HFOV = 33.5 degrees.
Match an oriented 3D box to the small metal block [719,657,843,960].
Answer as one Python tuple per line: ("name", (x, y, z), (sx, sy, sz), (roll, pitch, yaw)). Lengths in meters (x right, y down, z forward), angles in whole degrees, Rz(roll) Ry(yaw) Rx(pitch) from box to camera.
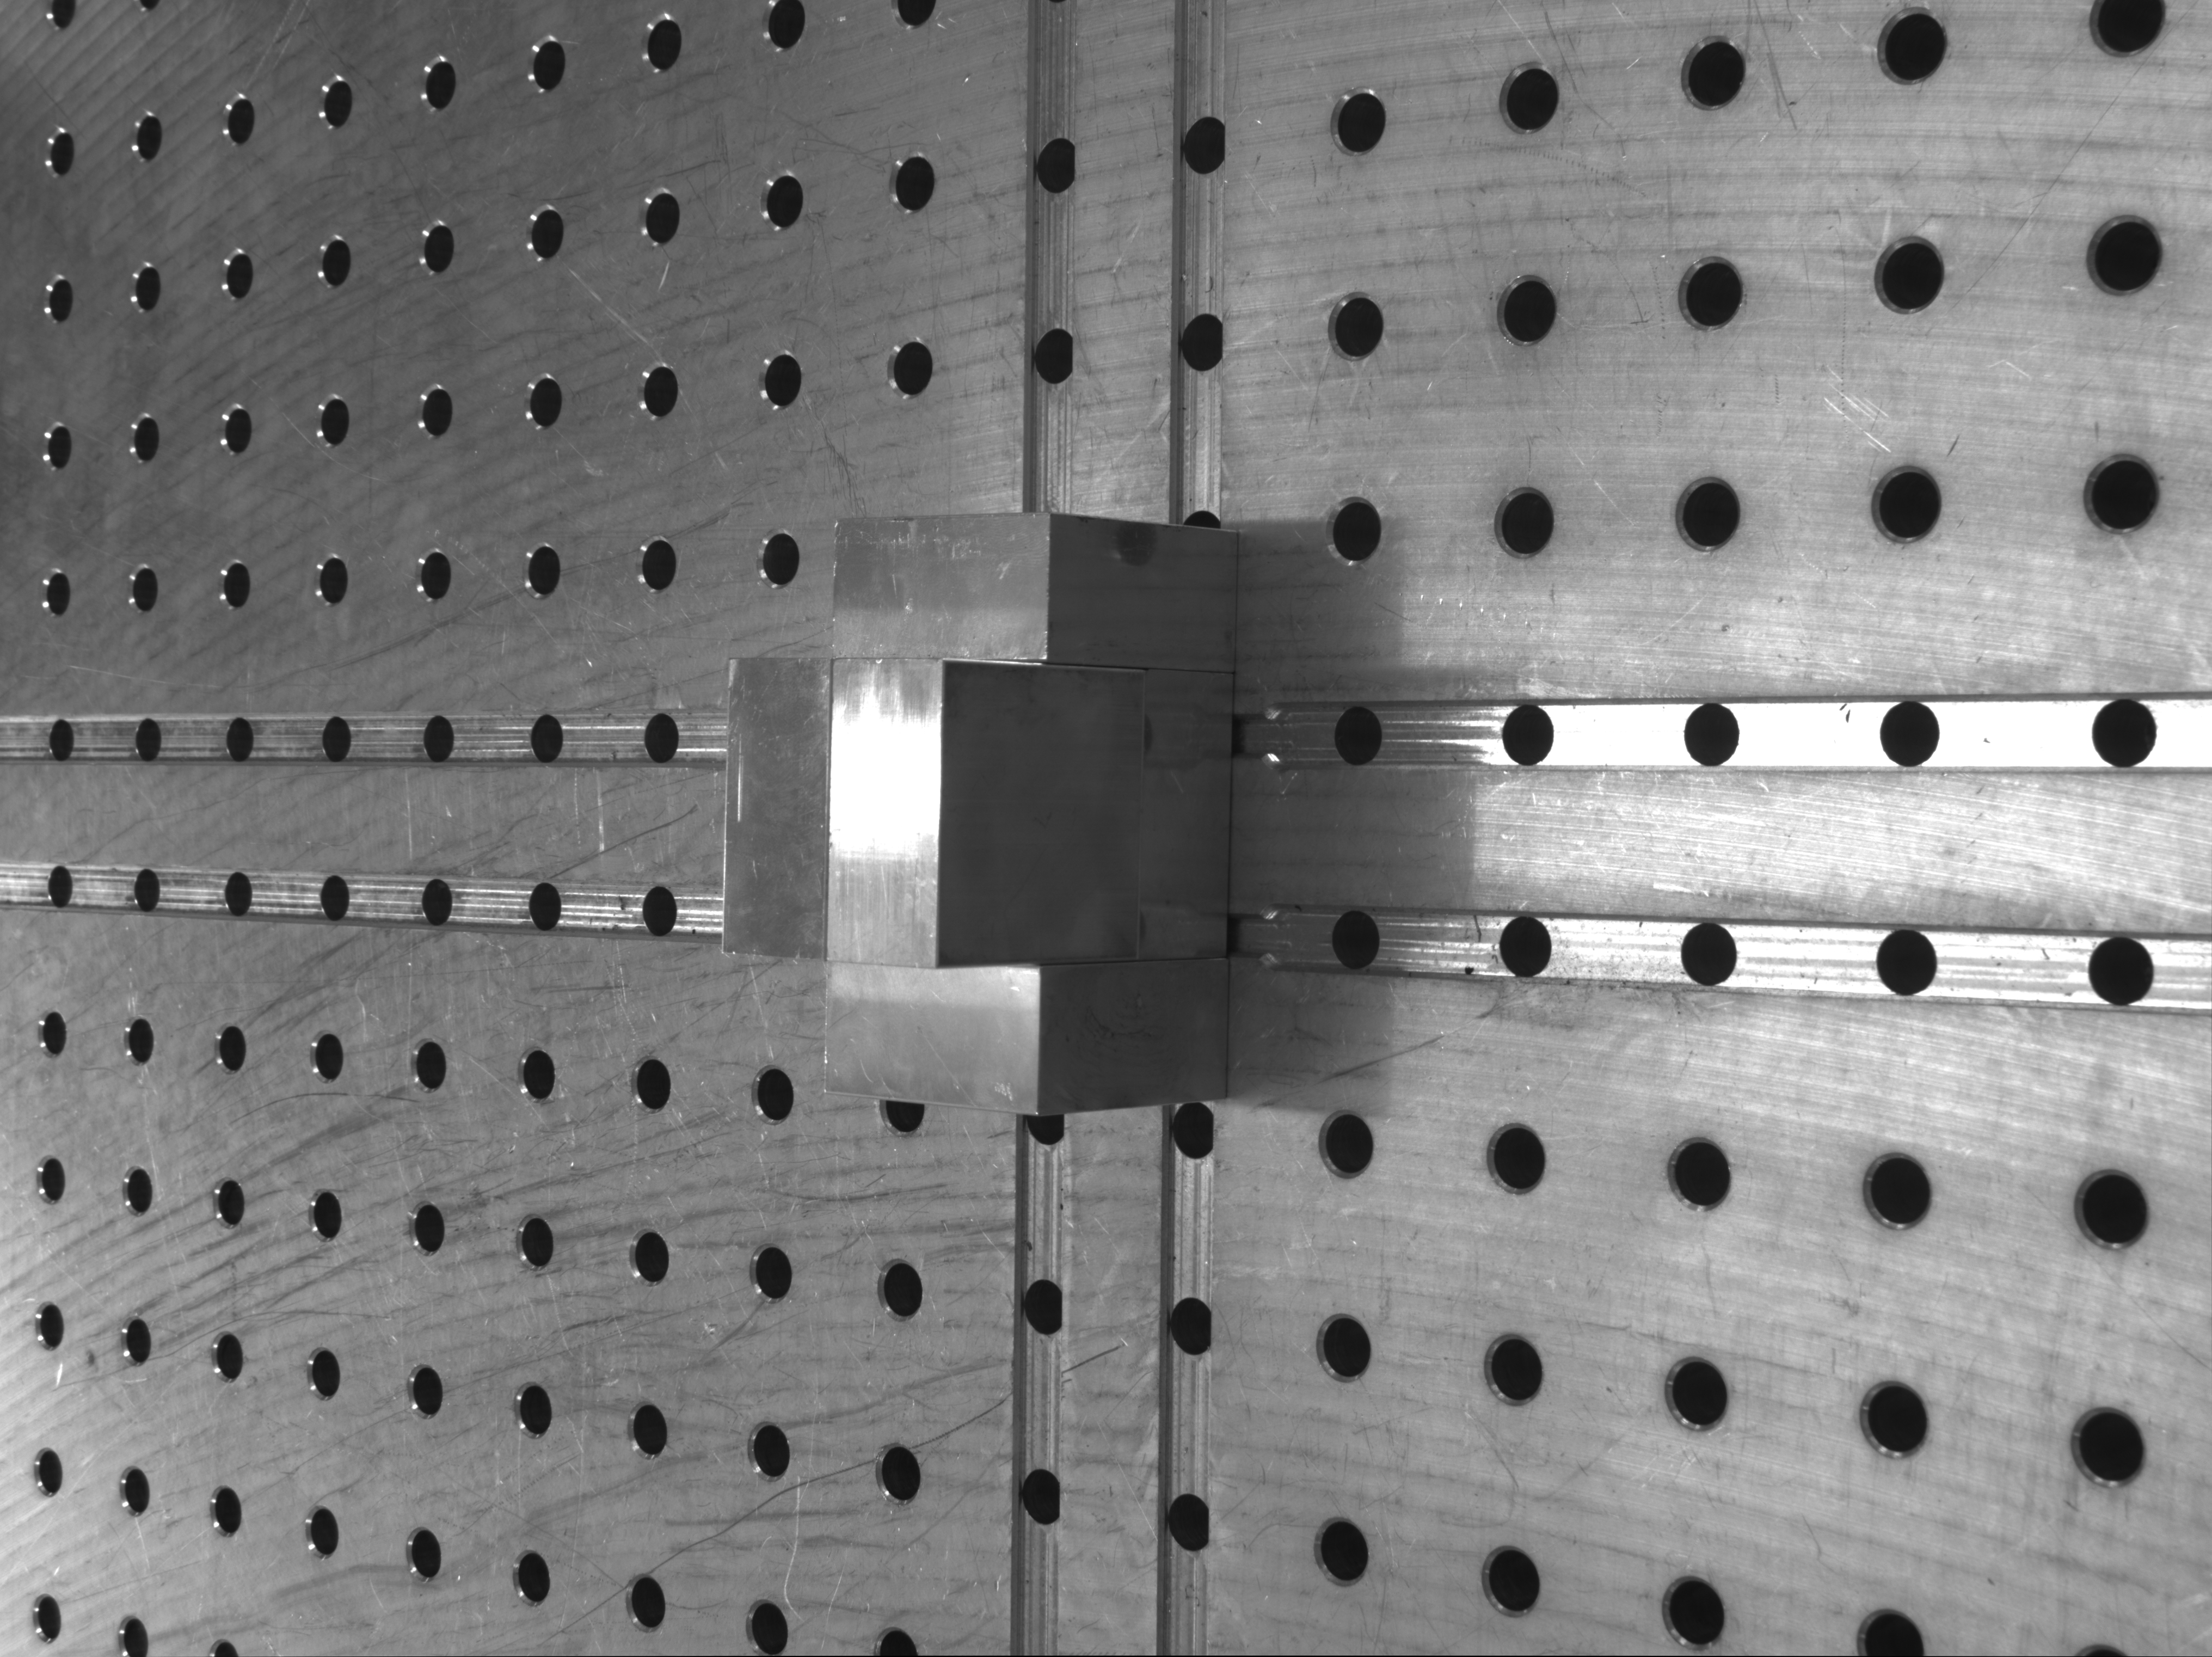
("small metal block", (-0.039, -0.004, 0.632), (0.025, 0.050, 0.050), (2, 91, 40))

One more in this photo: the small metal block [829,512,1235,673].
("small metal block", (-0.013, -0.041, 0.642), (0.050, 0.050, 0.025), (3, 92, 40))

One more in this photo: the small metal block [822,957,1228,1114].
("small metal block", (-0.014, 0.034, 0.644), (0.050, 0.050, 0.025), (2, 91, 40))

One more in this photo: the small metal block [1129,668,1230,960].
("small metal block", (-0.006, -0.003, 0.653), (0.050, 0.025, 0.050), (2, 91, 42))

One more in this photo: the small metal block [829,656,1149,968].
("small metal block", (-0.019, -0.003, 0.616), (0.025, 0.050, 0.050), (2, 91, 41))
